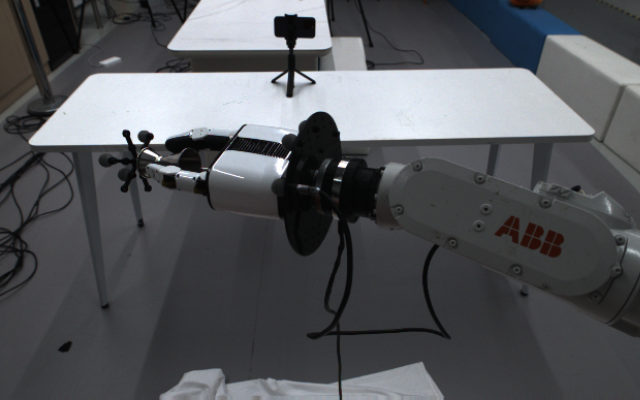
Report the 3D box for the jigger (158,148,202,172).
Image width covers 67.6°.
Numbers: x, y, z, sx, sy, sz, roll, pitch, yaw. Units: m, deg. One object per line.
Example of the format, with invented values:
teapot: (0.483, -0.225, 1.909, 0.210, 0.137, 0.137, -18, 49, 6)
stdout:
jigger: (-0.182, -0.050, 0.607, 0.071, 0.043, 0.043, 4, 33, 24)
